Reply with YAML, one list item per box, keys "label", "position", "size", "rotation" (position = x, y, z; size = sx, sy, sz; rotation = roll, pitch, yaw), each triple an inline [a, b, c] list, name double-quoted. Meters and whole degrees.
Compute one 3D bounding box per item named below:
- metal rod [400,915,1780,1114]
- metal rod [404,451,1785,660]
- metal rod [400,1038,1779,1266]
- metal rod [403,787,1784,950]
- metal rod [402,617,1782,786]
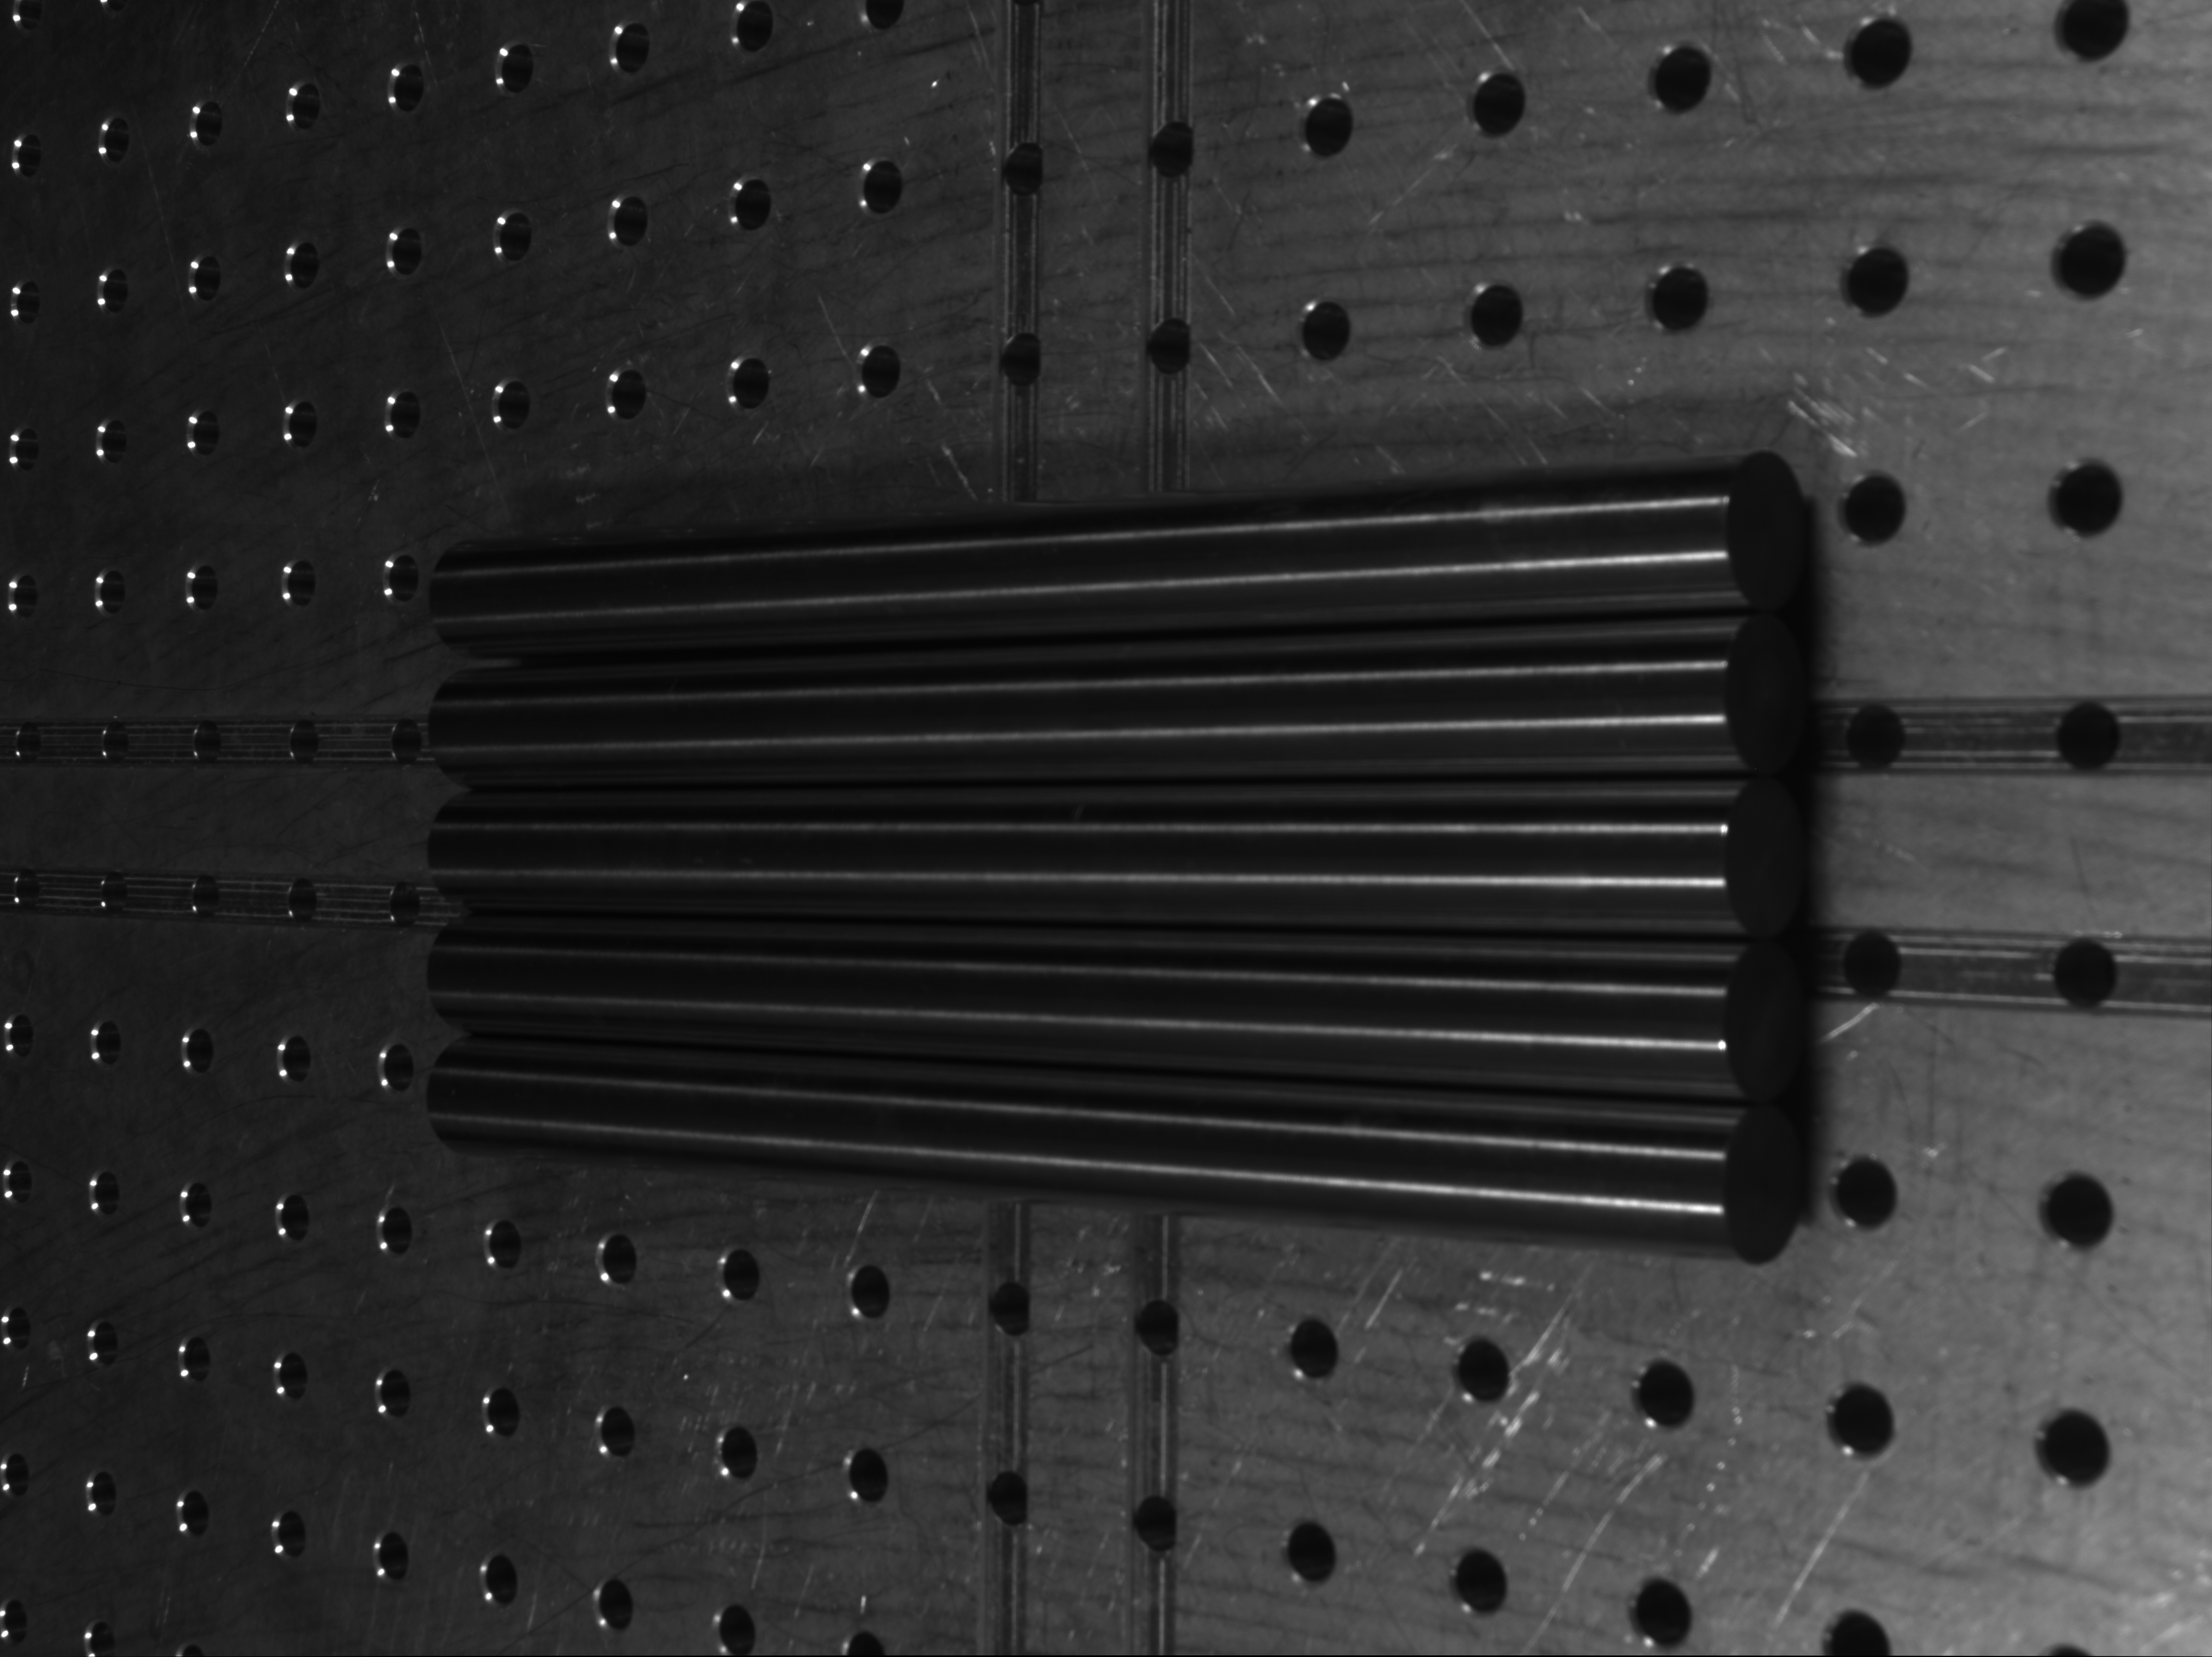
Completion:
- label: "metal rod"
  position: [-0.019, 0.031, 0.654]
  size: [0.299, 0.025, 0.025]
  rotation: [0, 90, 39]
- label: "metal rod"
  position: [-0.018, -0.046, 0.654]
  size: [0.299, 0.025, 0.025]
  rotation: [0, 90, 39]
- label: "metal rod"
  position: [-0.019, 0.055, 0.654]
  size: [0.299, 0.025, 0.025]
  rotation: [0, 90, 39]
- label: "metal rod"
  position: [-0.018, 0.005, 0.654]
  size: [0.299, 0.025, 0.025]
  rotation: [0, 90, 39]
- label: "metal rod"
  position: [-0.018, -0.021, 0.655]
  size: [0.299, 0.025, 0.025]
  rotation: [0, 90, 39]
